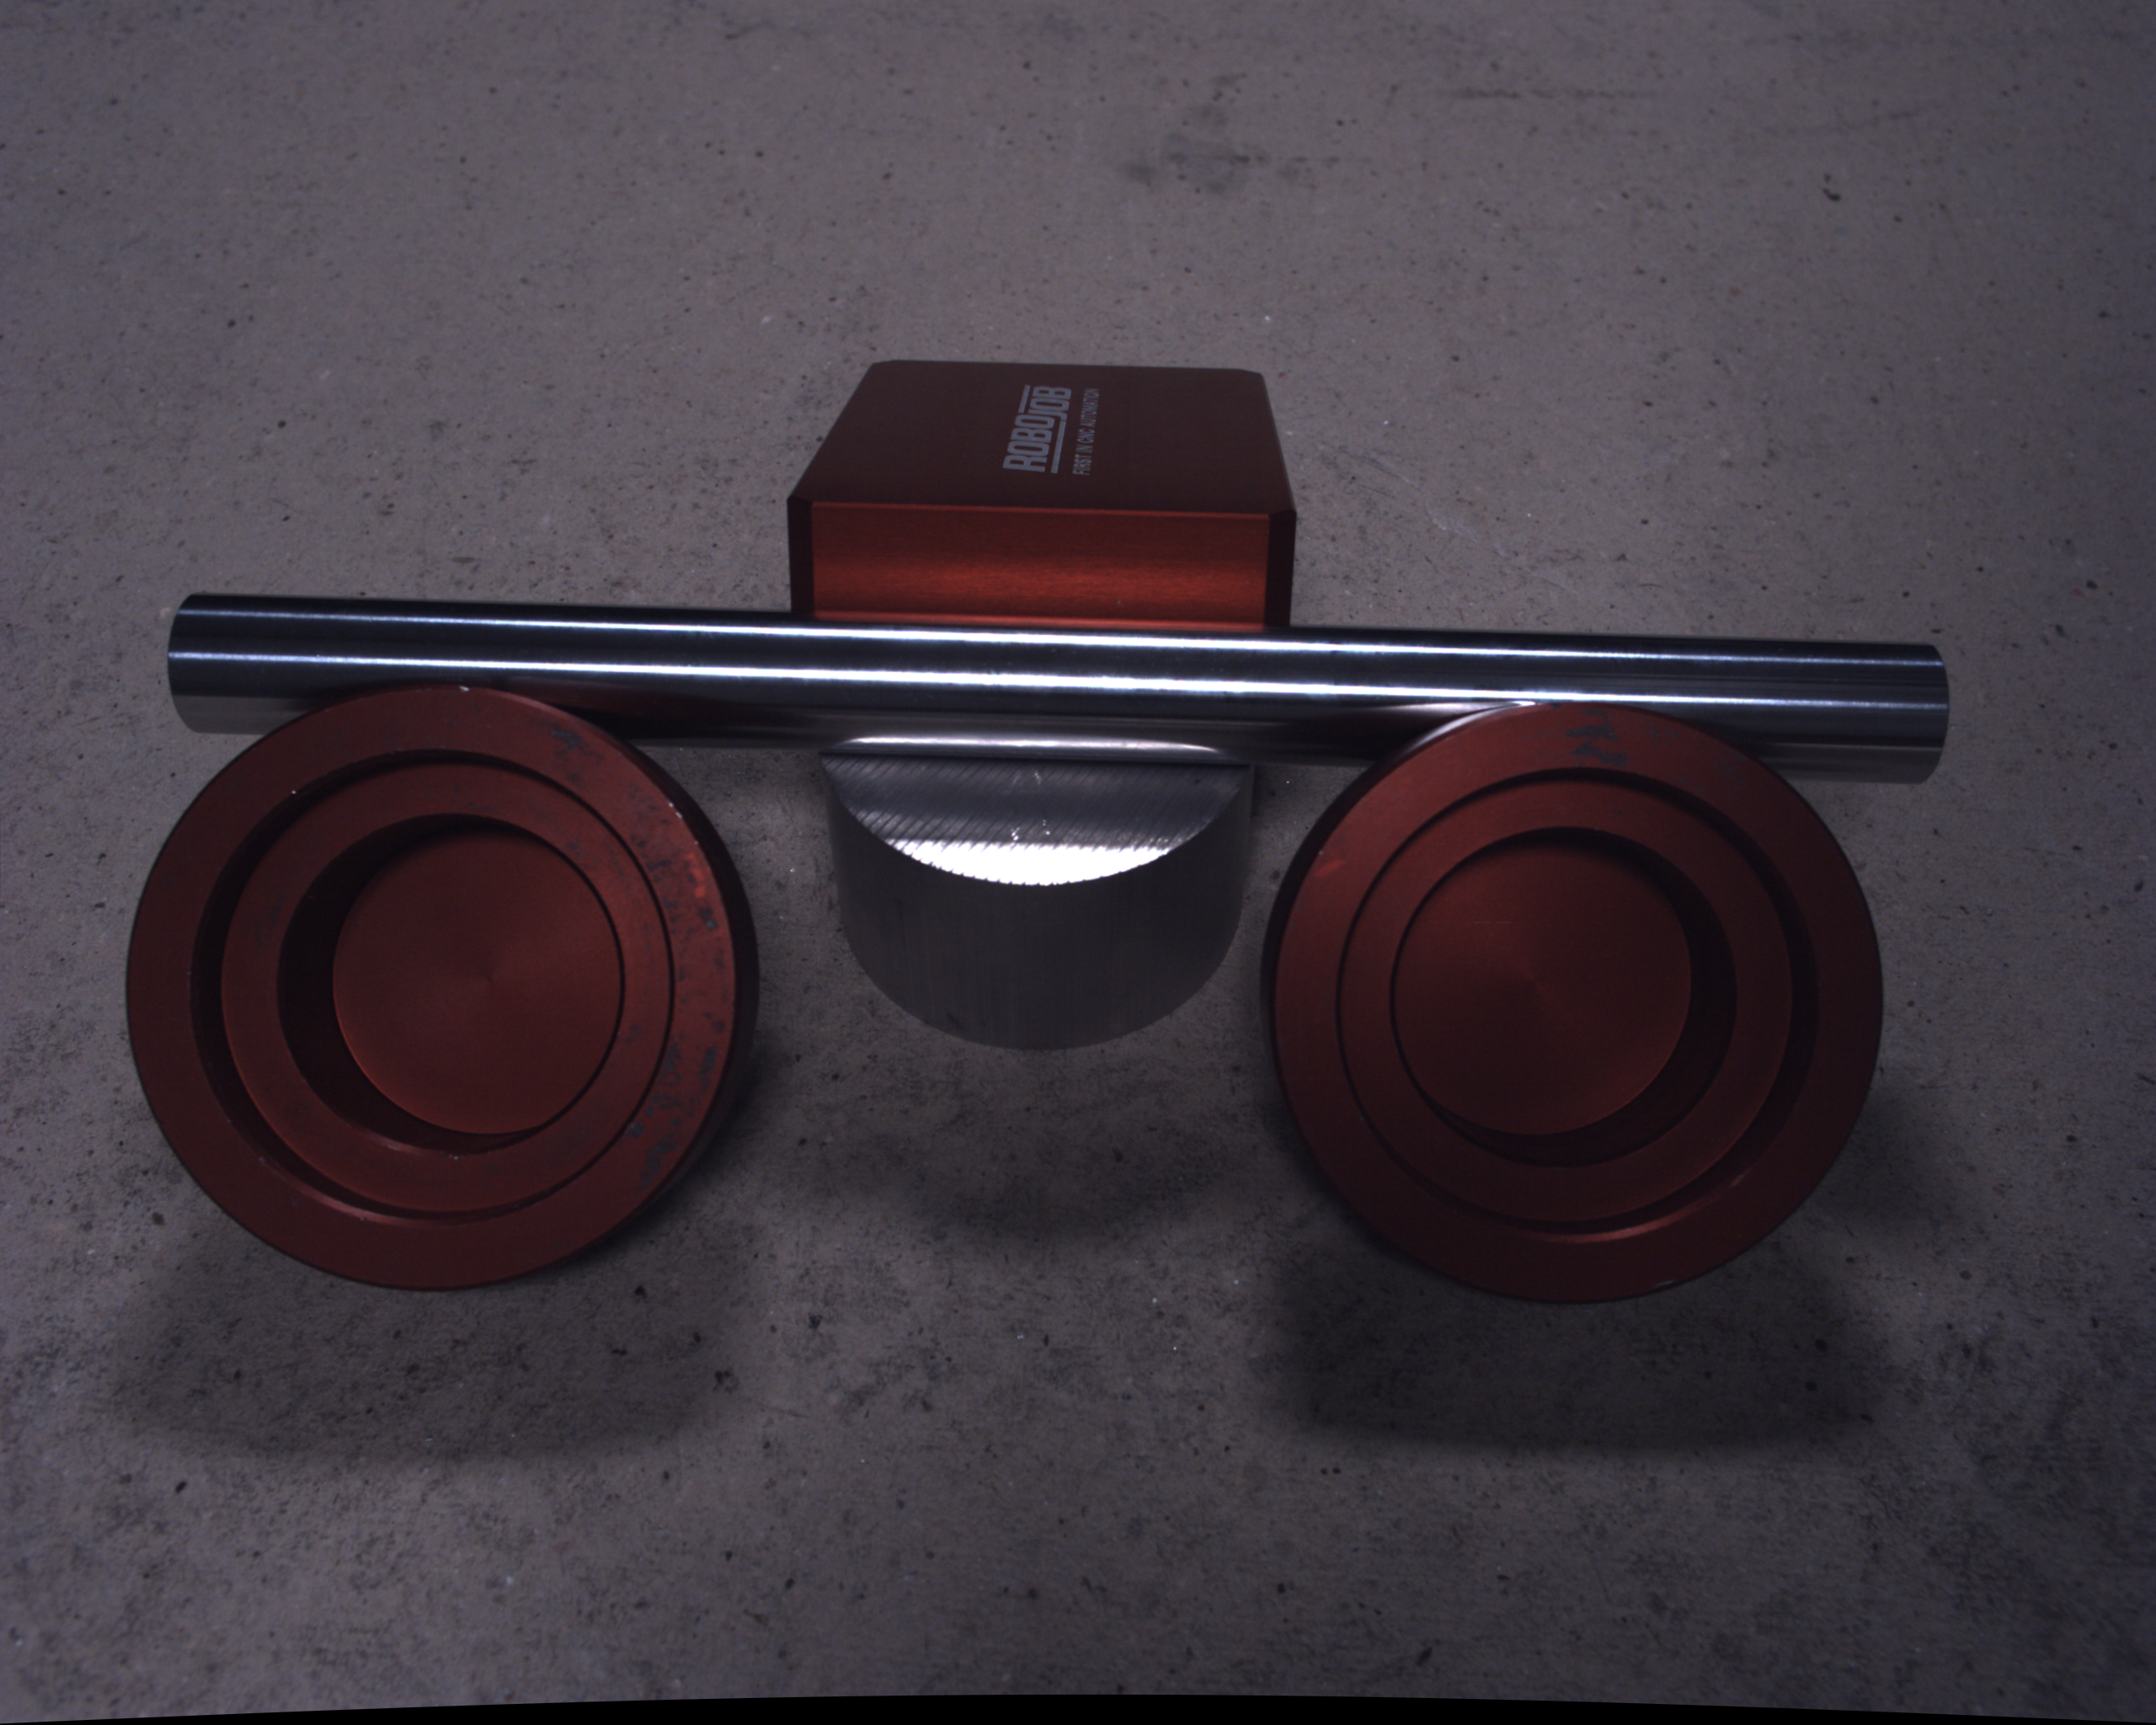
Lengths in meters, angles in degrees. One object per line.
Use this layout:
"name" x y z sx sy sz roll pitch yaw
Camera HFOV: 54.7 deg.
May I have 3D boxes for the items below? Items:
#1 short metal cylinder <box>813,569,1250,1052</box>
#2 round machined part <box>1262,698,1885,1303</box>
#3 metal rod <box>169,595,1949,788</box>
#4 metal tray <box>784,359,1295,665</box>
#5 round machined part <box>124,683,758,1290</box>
"short metal cylinder" -0.008 -0.011 0.398 0.081 0.050 0.080 0 50 0
"round machined part" 0.080 0.021 0.354 0.099 0.042 0.097 0 93 0
"metal rod" -0.004 -0.030 0.366 0.302 0.025 0.025 2 50 1
"metal tray" -0.005 -0.076 0.430 0.091 0.030 0.130 2 24 1
"round machined part" -0.104 0.020 0.355 0.099 0.042 0.097 0 88 -1
